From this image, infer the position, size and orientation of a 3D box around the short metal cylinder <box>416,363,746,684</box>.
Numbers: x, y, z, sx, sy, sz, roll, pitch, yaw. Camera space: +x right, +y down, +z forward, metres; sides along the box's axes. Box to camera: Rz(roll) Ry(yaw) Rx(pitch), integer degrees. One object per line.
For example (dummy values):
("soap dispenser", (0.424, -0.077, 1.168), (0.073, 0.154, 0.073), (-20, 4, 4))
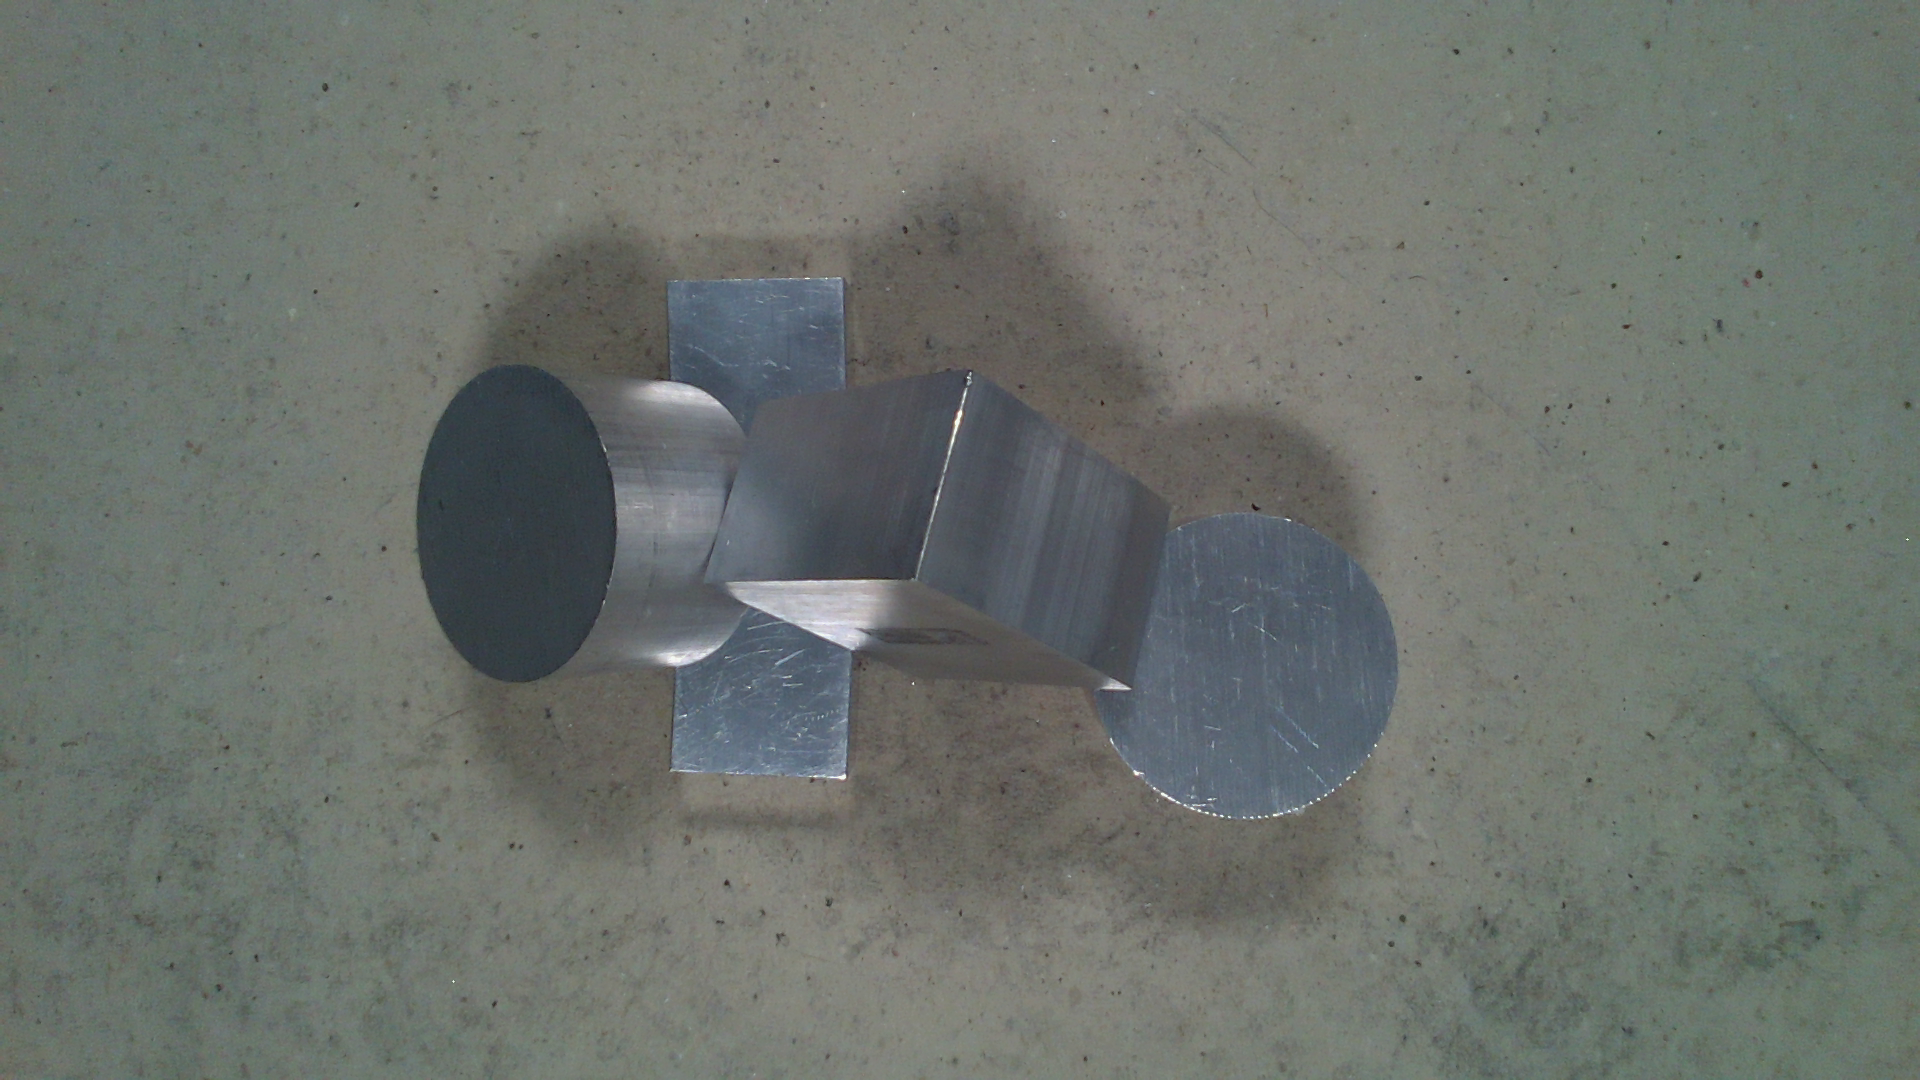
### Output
("short metal cylinder", (-0.098, -0.004, 0.365), (0.080, 0.050, 0.080), (1, 91, 36))

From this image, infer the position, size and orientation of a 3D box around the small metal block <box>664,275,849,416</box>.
("small metal block", (-0.057, -0.048, 0.395), (0.050, 0.025, 0.050), (-1, 90, 0))

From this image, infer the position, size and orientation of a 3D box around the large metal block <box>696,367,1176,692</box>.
("large metal block", (-0.005, 0.001, 0.349), (0.080, 0.080, 0.050), (29, 69, -41))

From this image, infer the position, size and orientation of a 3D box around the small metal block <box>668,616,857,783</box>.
("small metal block", (-0.055, 0.041, 0.395), (0.050, 0.025, 0.050), (3, 90, 0))

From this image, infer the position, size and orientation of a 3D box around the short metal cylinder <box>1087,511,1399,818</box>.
("short metal cylinder", (0.075, 0.032, 0.383), (0.080, 0.050, 0.080), (0, 90, 0))
